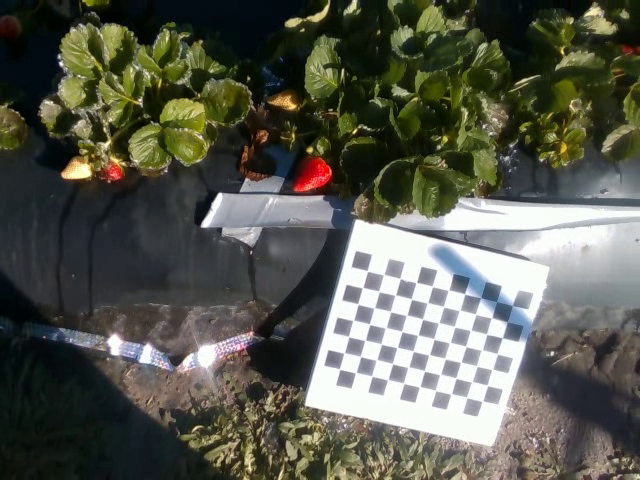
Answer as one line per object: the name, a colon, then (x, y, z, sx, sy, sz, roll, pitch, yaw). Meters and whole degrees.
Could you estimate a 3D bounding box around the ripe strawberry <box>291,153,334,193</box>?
ripe strawberry: (-0.014, -0.084, 0.852, 0.057, 0.062, 0.065, -30, 18, 45)
